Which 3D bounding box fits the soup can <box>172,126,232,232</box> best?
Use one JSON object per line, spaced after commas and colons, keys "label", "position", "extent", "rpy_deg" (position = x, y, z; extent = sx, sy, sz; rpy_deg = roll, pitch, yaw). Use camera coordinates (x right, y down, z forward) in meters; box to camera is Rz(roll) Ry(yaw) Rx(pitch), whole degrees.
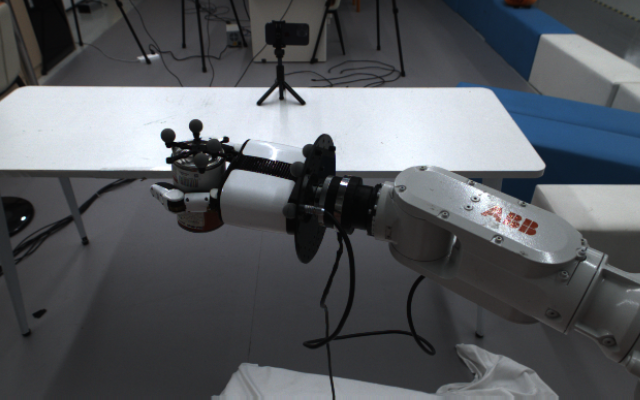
{"label": "soup can", "position": [-0.154, -0.016, 0.626], "extent": [0.067, 0.101, 0.067], "rpy_deg": [5, 37, -4]}
